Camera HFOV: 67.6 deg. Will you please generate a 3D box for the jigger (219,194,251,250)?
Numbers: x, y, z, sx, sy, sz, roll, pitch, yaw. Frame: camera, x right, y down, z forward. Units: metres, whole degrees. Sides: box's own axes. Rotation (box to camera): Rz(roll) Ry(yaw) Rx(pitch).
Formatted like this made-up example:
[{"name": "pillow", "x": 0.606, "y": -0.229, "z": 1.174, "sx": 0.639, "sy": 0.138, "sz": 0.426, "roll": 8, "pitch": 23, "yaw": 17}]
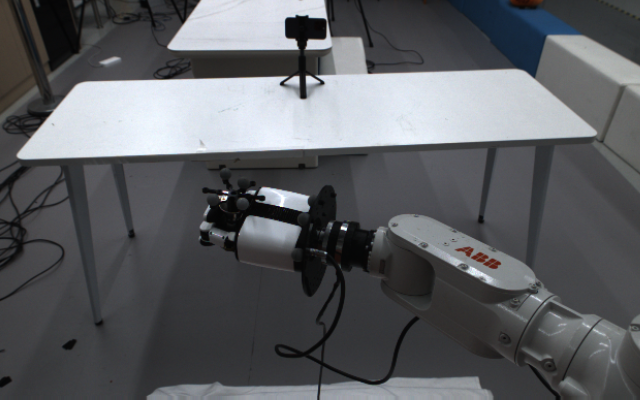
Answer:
[{"name": "jigger", "x": -0.125, "y": 0.035, "z": 0.708, "sx": 0.043, "sy": 0.071, "sz": 0.043, "roll": 6, "pitch": 32, "yaw": -4}]
